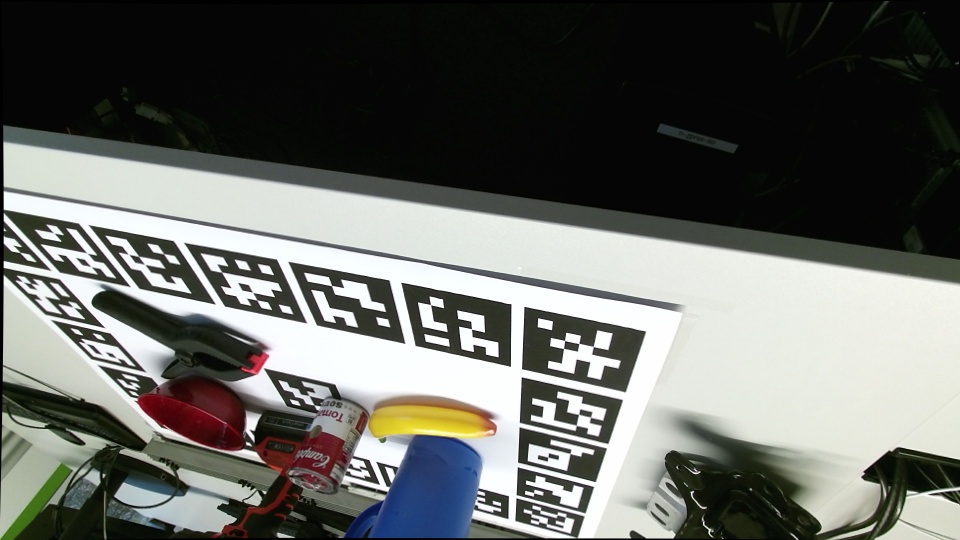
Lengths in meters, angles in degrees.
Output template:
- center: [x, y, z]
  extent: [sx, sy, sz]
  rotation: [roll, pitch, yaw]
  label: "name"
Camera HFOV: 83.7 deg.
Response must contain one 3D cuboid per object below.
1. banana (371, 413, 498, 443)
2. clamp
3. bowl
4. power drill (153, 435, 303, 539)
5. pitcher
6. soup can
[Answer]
- center: [-0.066, 0.200, 0.650]
  extent: [0.198, 0.038, 0.074]
  rotation: [-8, 139, 29]
  label: "banana"
- center: [-0.352, 0.107, 0.647]
  extent: [0.203, 0.036, 0.165]
  rotation: [9, 132, 12]
  label: "clamp"
- center: [-0.410, 0.209, 0.769]
  extent: [0.162, 0.055, 0.162]
  rotation: [10, 135, 10]
  label: "bowl"
- center: [-0.325, 0.326, 0.734]
  extent: [0.185, 0.186, 0.057]
  rotation: [7, 135, 14]
  label: "power drill"
- center: [-0.095, 0.349, 0.661]
  extent: [0.189, 0.241, 0.133]
  rotation: [-8, 133, 27]
  label: "pitcher"
- center: [-0.195, 0.236, 0.686]
  extent: [0.068, 0.101, 0.068]
  rotation: [11, 145, 8]
  label: "soup can"
